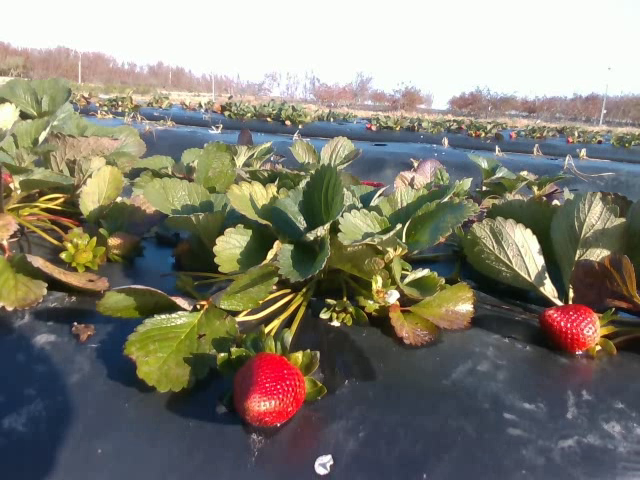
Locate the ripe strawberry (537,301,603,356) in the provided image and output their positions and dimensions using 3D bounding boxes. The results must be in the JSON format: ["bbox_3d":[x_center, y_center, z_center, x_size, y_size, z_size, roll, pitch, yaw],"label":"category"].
[{"bbox_3d":[0.149,0.050,0.372,0.046,0.036,0.035,17,34,-3],"label":"ripe strawberry"}]

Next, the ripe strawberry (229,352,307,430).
[{"bbox_3d":[-0.027,0.076,0.306,0.045,0.042,0.055,18,4,7],"label":"ripe strawberry"}]
